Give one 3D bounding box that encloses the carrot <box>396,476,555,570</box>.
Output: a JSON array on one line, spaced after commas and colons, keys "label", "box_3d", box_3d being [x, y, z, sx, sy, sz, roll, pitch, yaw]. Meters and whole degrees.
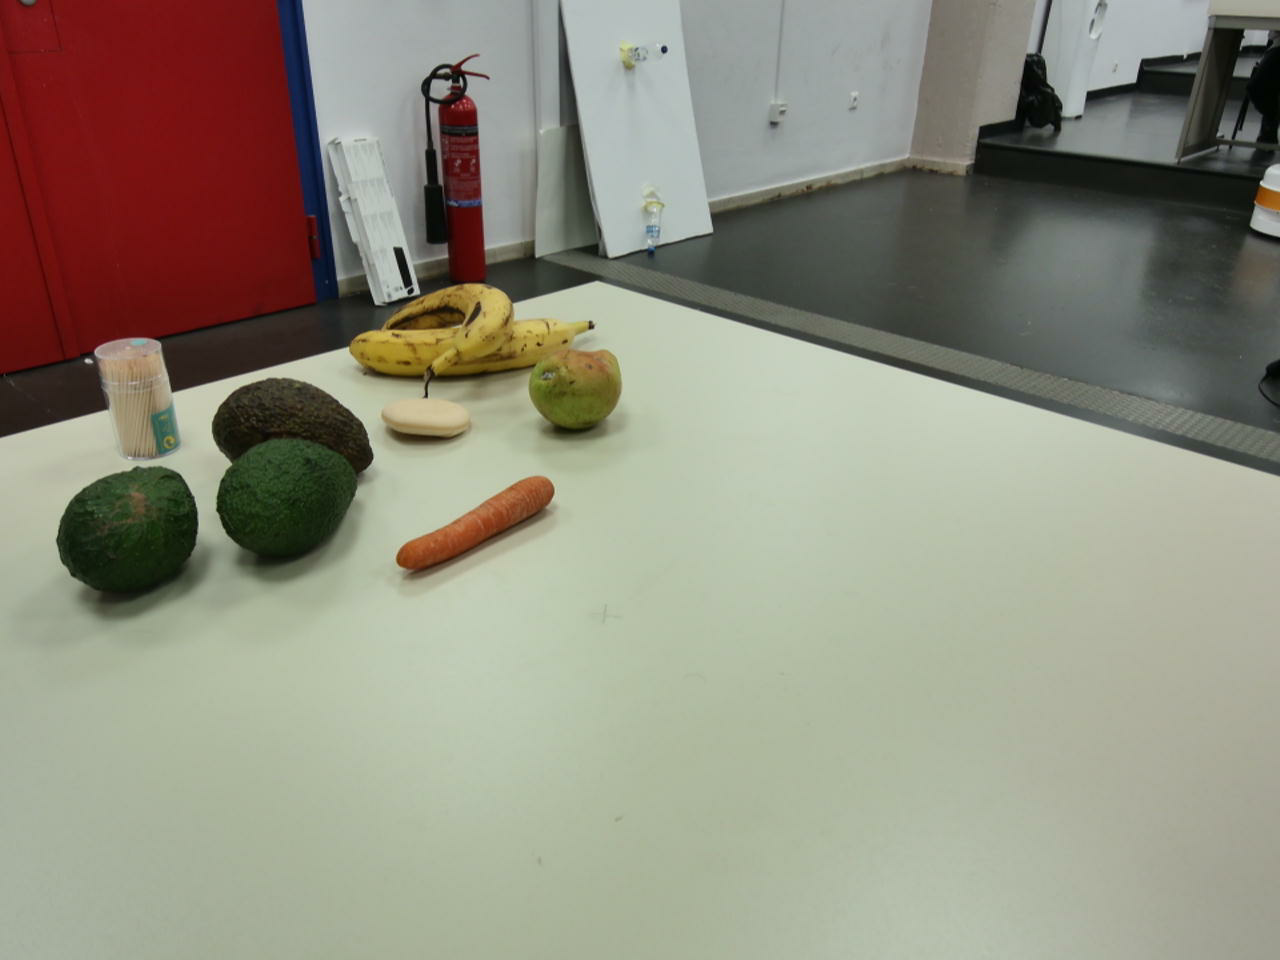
[{"label": "carrot", "box_3d": [-0.097, 0.025, 0.604, 0.024, 0.023, 0.122, 20, 32, 35]}]
